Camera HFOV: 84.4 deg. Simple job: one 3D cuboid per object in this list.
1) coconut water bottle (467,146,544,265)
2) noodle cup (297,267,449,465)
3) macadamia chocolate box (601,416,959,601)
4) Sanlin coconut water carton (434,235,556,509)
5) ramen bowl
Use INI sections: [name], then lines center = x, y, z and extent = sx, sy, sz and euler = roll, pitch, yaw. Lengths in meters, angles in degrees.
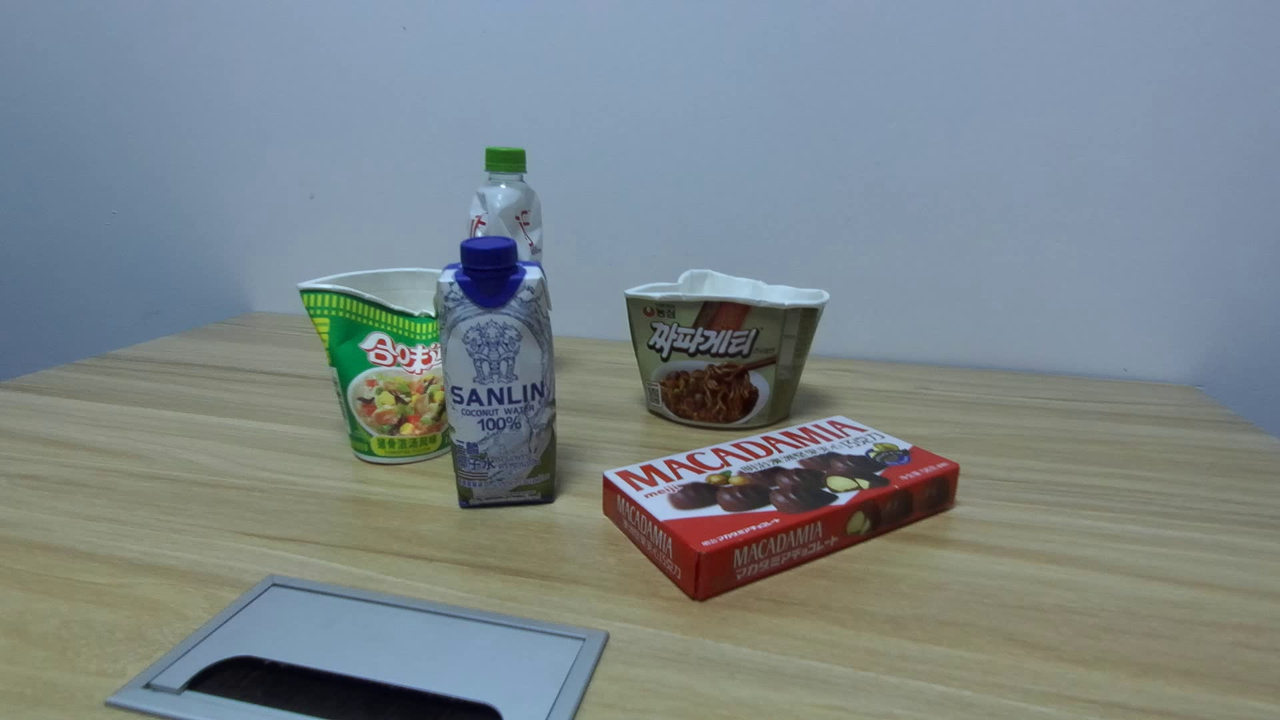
[coconut water bottle]
center = -0.105, -0.070, 0.560
extent = 0.067, 0.187, 0.067
euler = 1, 11, 0
[noodle cup]
center = -0.152, 0.001, 0.452
extent = 0.082, 0.122, 0.075
euler = -2, 8, 22
[macadamia chocolate box]
center = 0.078, 0.071, 0.384
extent = 0.178, 0.027, 0.095
euler = -9, 19, -29
[Sanlin coconut water carton]
center = -0.077, 0.005, 0.389
extent = 0.061, 0.144, 0.060
euler = -3, 17, -9
[ramen bowl]
center = 0.069, -0.011, 0.525
extent = 0.133, 0.097, 0.114
euler = 9, 19, 27
